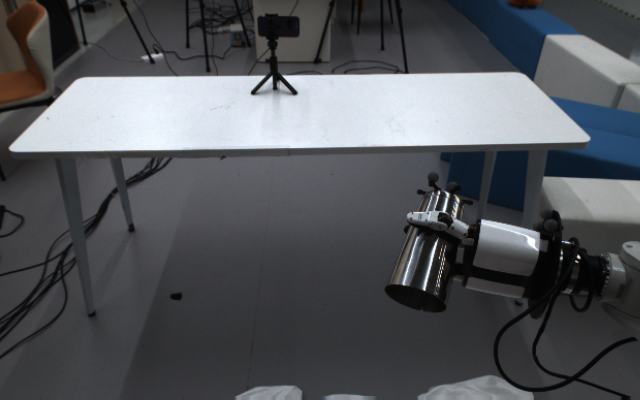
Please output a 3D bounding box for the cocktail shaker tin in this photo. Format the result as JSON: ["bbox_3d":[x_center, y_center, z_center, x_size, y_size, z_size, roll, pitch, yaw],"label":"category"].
[{"bbox_3d":[0.167,0.071,0.729,0.093,0.093,0.170,14,62,17],"label":"cocktail shaker tin"}]
